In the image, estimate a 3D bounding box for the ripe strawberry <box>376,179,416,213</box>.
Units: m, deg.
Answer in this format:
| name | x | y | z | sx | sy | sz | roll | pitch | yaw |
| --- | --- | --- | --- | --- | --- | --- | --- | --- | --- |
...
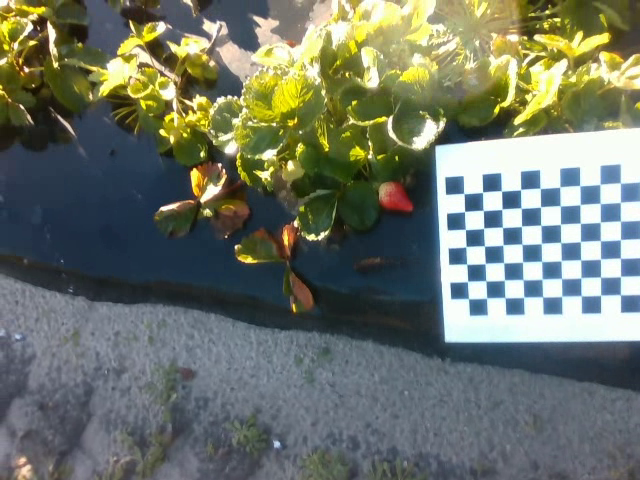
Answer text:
| name | x | y | z | sx | sy | sz | roll | pitch | yaw |
| --- | --- | --- | --- | --- | --- | --- | --- | --- | --- |
| ripe strawberry | 0.112 | -0.058 | 0.934 | 0.065 | 0.040 | 0.040 | 38 | 12 | 4 |
